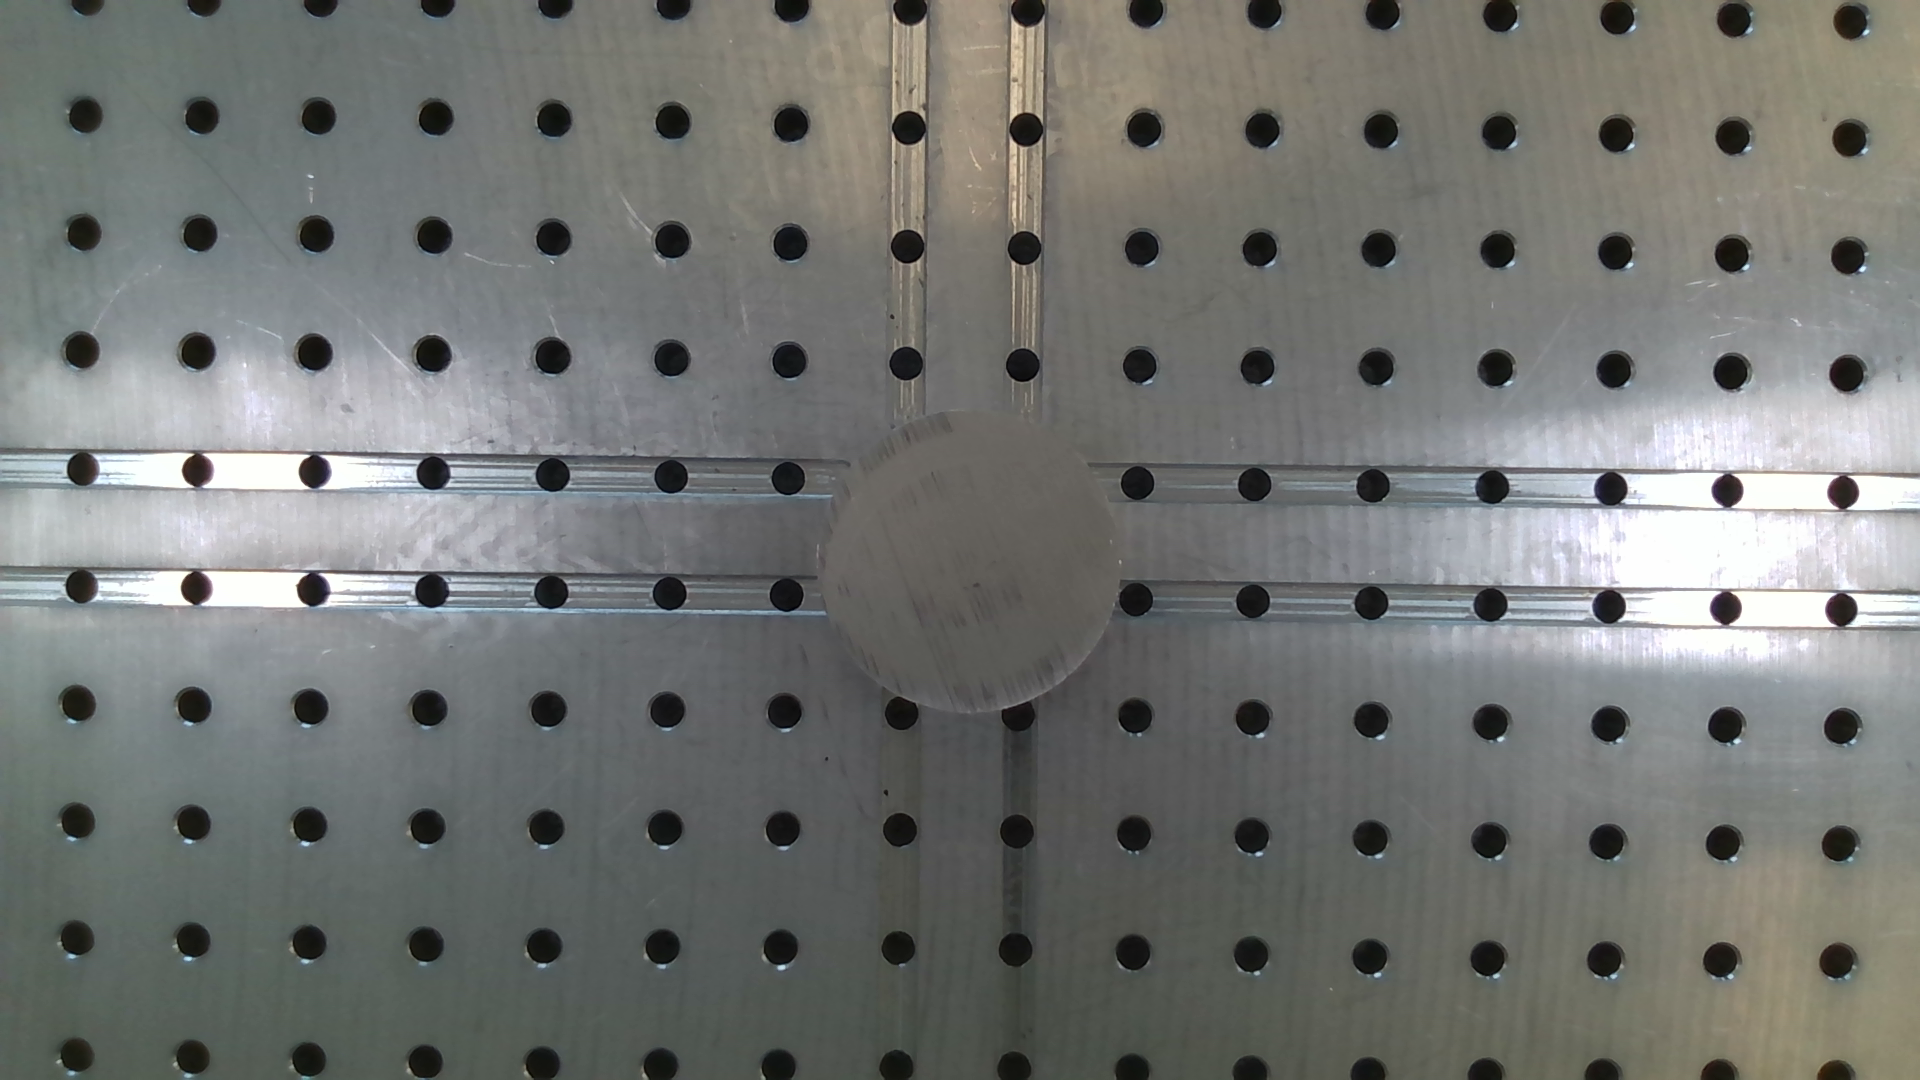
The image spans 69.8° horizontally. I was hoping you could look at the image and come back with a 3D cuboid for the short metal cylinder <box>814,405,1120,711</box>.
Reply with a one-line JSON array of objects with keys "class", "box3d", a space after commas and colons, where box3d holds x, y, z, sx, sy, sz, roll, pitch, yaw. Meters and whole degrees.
[{"class": "short metal cylinder", "box3d": [0.002, 0.005, 0.385, 0.080, 0.050, 0.080, 0, 90, 0]}]
